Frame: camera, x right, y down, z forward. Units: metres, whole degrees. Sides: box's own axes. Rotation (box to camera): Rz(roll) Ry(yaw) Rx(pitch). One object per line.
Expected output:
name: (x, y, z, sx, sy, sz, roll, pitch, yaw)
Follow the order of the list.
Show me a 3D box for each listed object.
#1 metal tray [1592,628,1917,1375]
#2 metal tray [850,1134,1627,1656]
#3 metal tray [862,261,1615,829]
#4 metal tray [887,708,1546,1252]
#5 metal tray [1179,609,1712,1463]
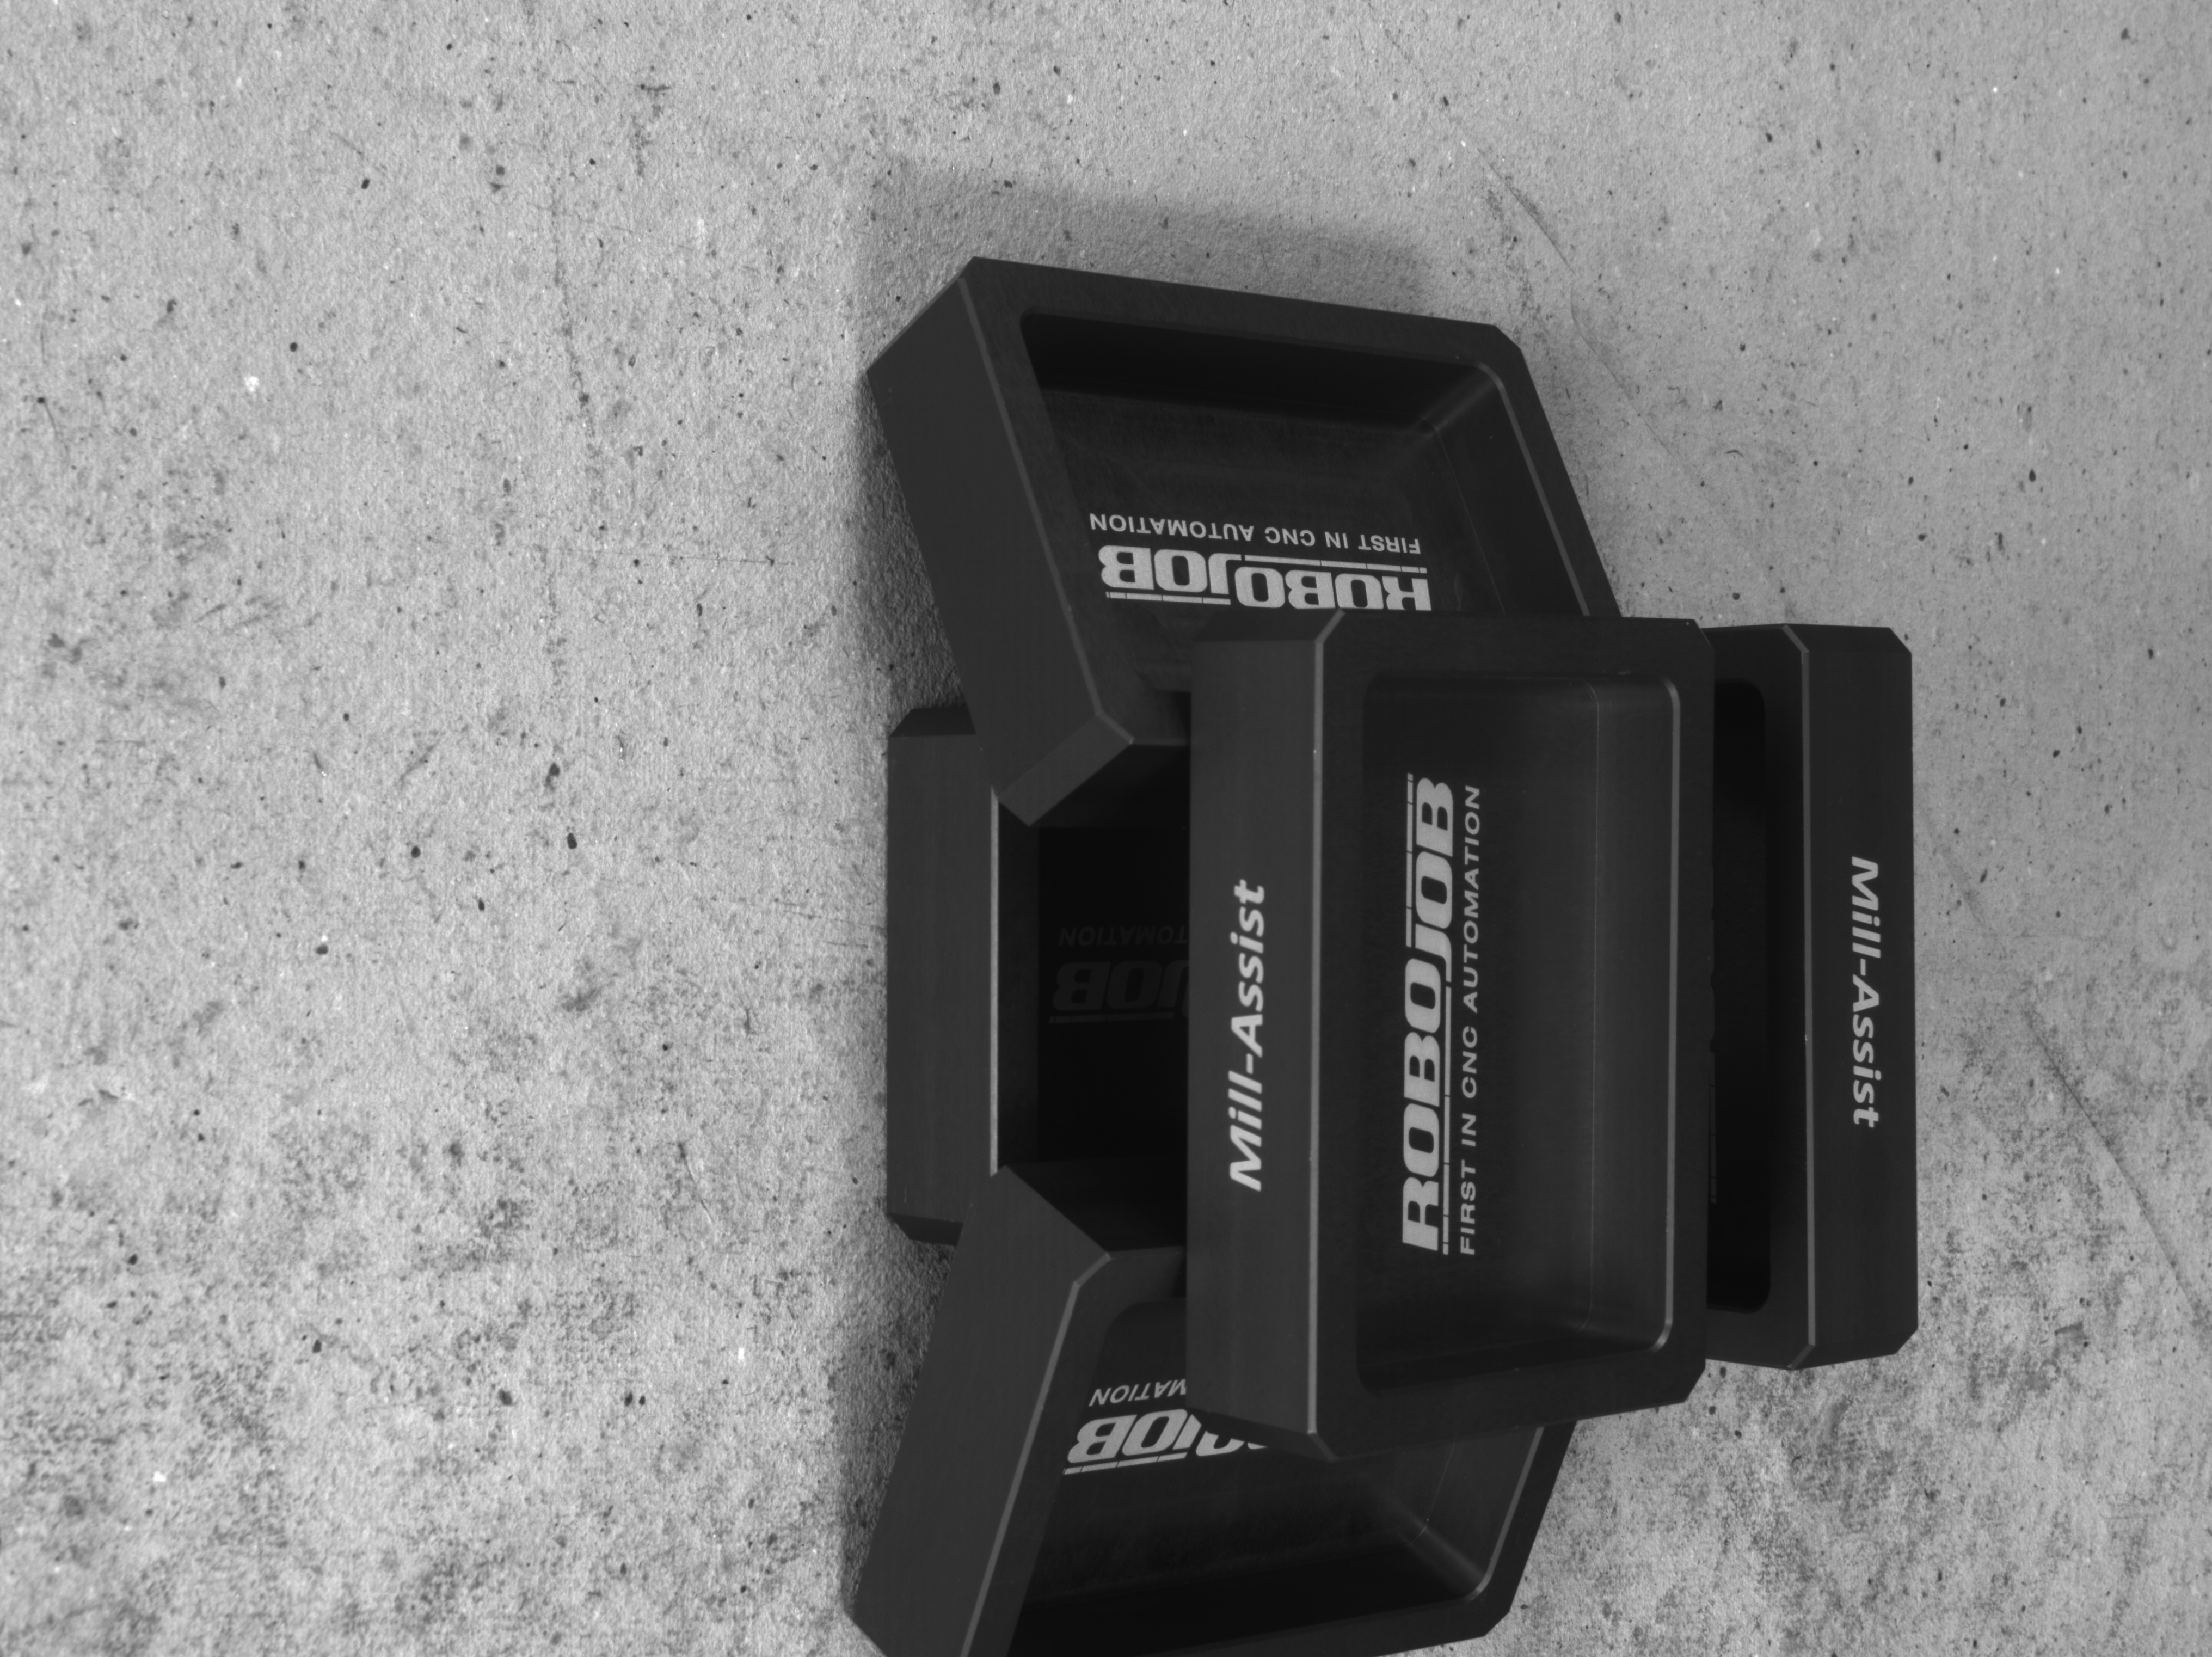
metal tray: (0.105, 0.030, 0.681, 0.030, 0.090, 0.130, -1, 91, -39)
metal tray: (0.026, 0.101, 0.633, 0.130, 0.030, 0.090, 0, 115, -40)
metal tray: (0.029, -0.046, 0.635, 0.130, 0.030, 0.090, 0, 63, -40)
metal tray: (0.023, 0.024, 0.650, 0.130, 0.030, 0.090, -1, 92, -40)
metal tray: (0.056, 0.031, 0.596, 0.090, 0.030, 0.130, -1, 93, -39)
